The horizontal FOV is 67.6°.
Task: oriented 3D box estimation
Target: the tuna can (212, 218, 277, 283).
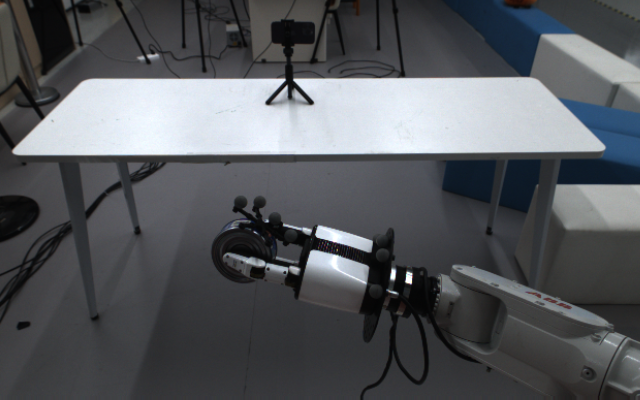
[{"bbox_3d":[-0.101,0.077,0.658,0.085,0.085,0.034,6,19,6],"label":"tuna can"}]
